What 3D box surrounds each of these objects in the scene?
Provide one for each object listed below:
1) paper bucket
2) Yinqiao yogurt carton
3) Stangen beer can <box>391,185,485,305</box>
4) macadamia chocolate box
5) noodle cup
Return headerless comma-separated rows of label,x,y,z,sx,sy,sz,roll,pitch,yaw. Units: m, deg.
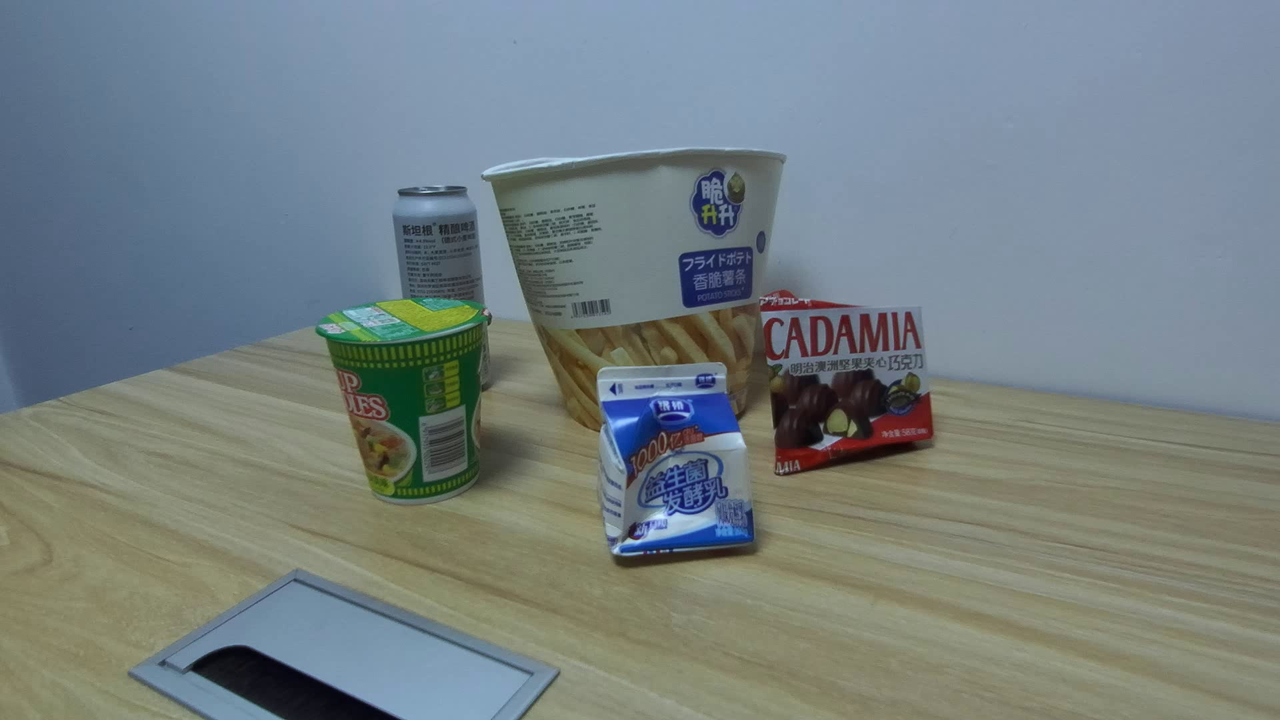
paper bucket,0.009,-0.058,0.537,0.147,0.199,0.219,9,20,30
Yinqiao yogurt carton,0.016,0.048,0.383,0.077,0.094,0.071,-4,13,-7
Stangen beer can,-0.164,-0.057,0.590,0.067,0.171,0.067,-1,18,1
macadamia chocolate box,0.135,0.008,0.472,0.127,0.112,0.056,-7,18,-16
noodle cup,-0.138,0.026,0.434,0.097,0.110,0.097,-1,17,1
